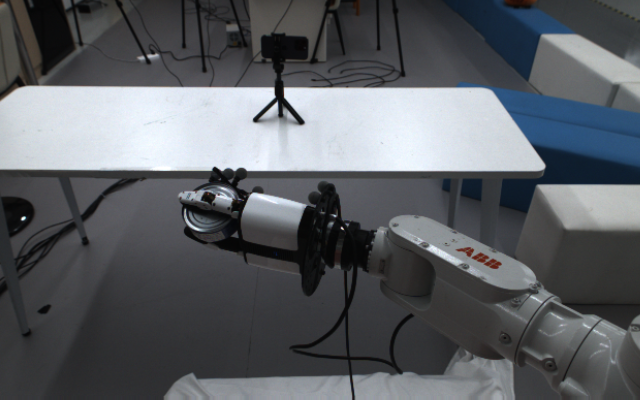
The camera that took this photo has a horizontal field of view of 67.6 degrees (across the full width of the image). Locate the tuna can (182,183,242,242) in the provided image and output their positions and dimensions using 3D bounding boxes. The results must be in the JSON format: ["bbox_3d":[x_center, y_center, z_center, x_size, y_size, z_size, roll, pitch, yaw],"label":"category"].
[{"bbox_3d":[-0.155,0.018,0.709,0.085,0.034,0.085,-4,56,6],"label":"tuna can"}]
